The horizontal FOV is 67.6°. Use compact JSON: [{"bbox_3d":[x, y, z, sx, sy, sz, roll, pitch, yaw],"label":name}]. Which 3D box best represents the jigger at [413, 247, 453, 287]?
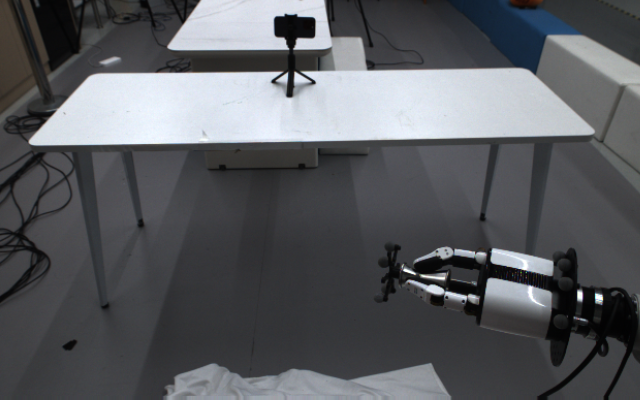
[{"bbox_3d":[0.160,0.113,0.711,0.071,0.043,0.043,8,34,23],"label":"jigger"}]
